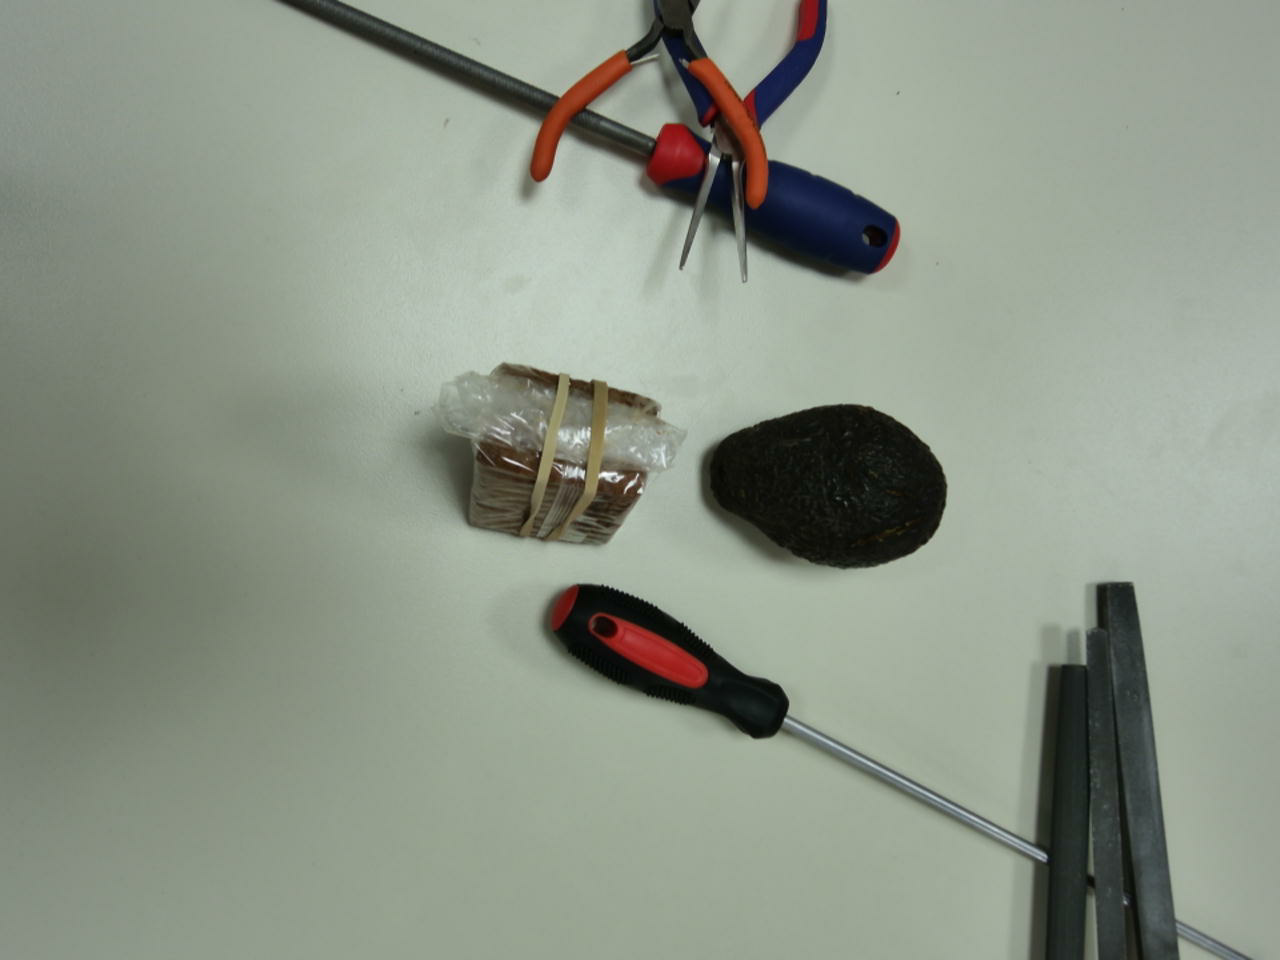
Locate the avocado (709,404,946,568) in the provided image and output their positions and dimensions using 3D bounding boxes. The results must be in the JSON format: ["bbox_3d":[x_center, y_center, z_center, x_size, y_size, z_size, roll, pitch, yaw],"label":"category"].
[{"bbox_3d":[0.082,-0.001,0.421,0.090,0.069,0.070,35,83,-10],"label":"avocado"}]
